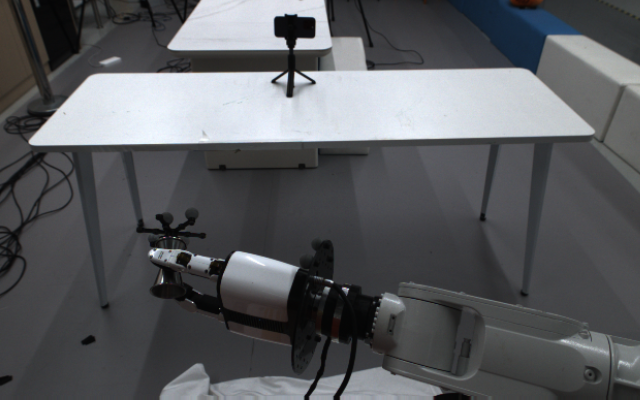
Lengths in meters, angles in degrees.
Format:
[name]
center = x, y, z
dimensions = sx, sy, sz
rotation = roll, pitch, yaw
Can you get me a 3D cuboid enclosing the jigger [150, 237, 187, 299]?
[jigger]
center = -0.191, 0.086, 0.619
dimensions = 0.043, 0.043, 0.071
rotation = -3, 57, -8
